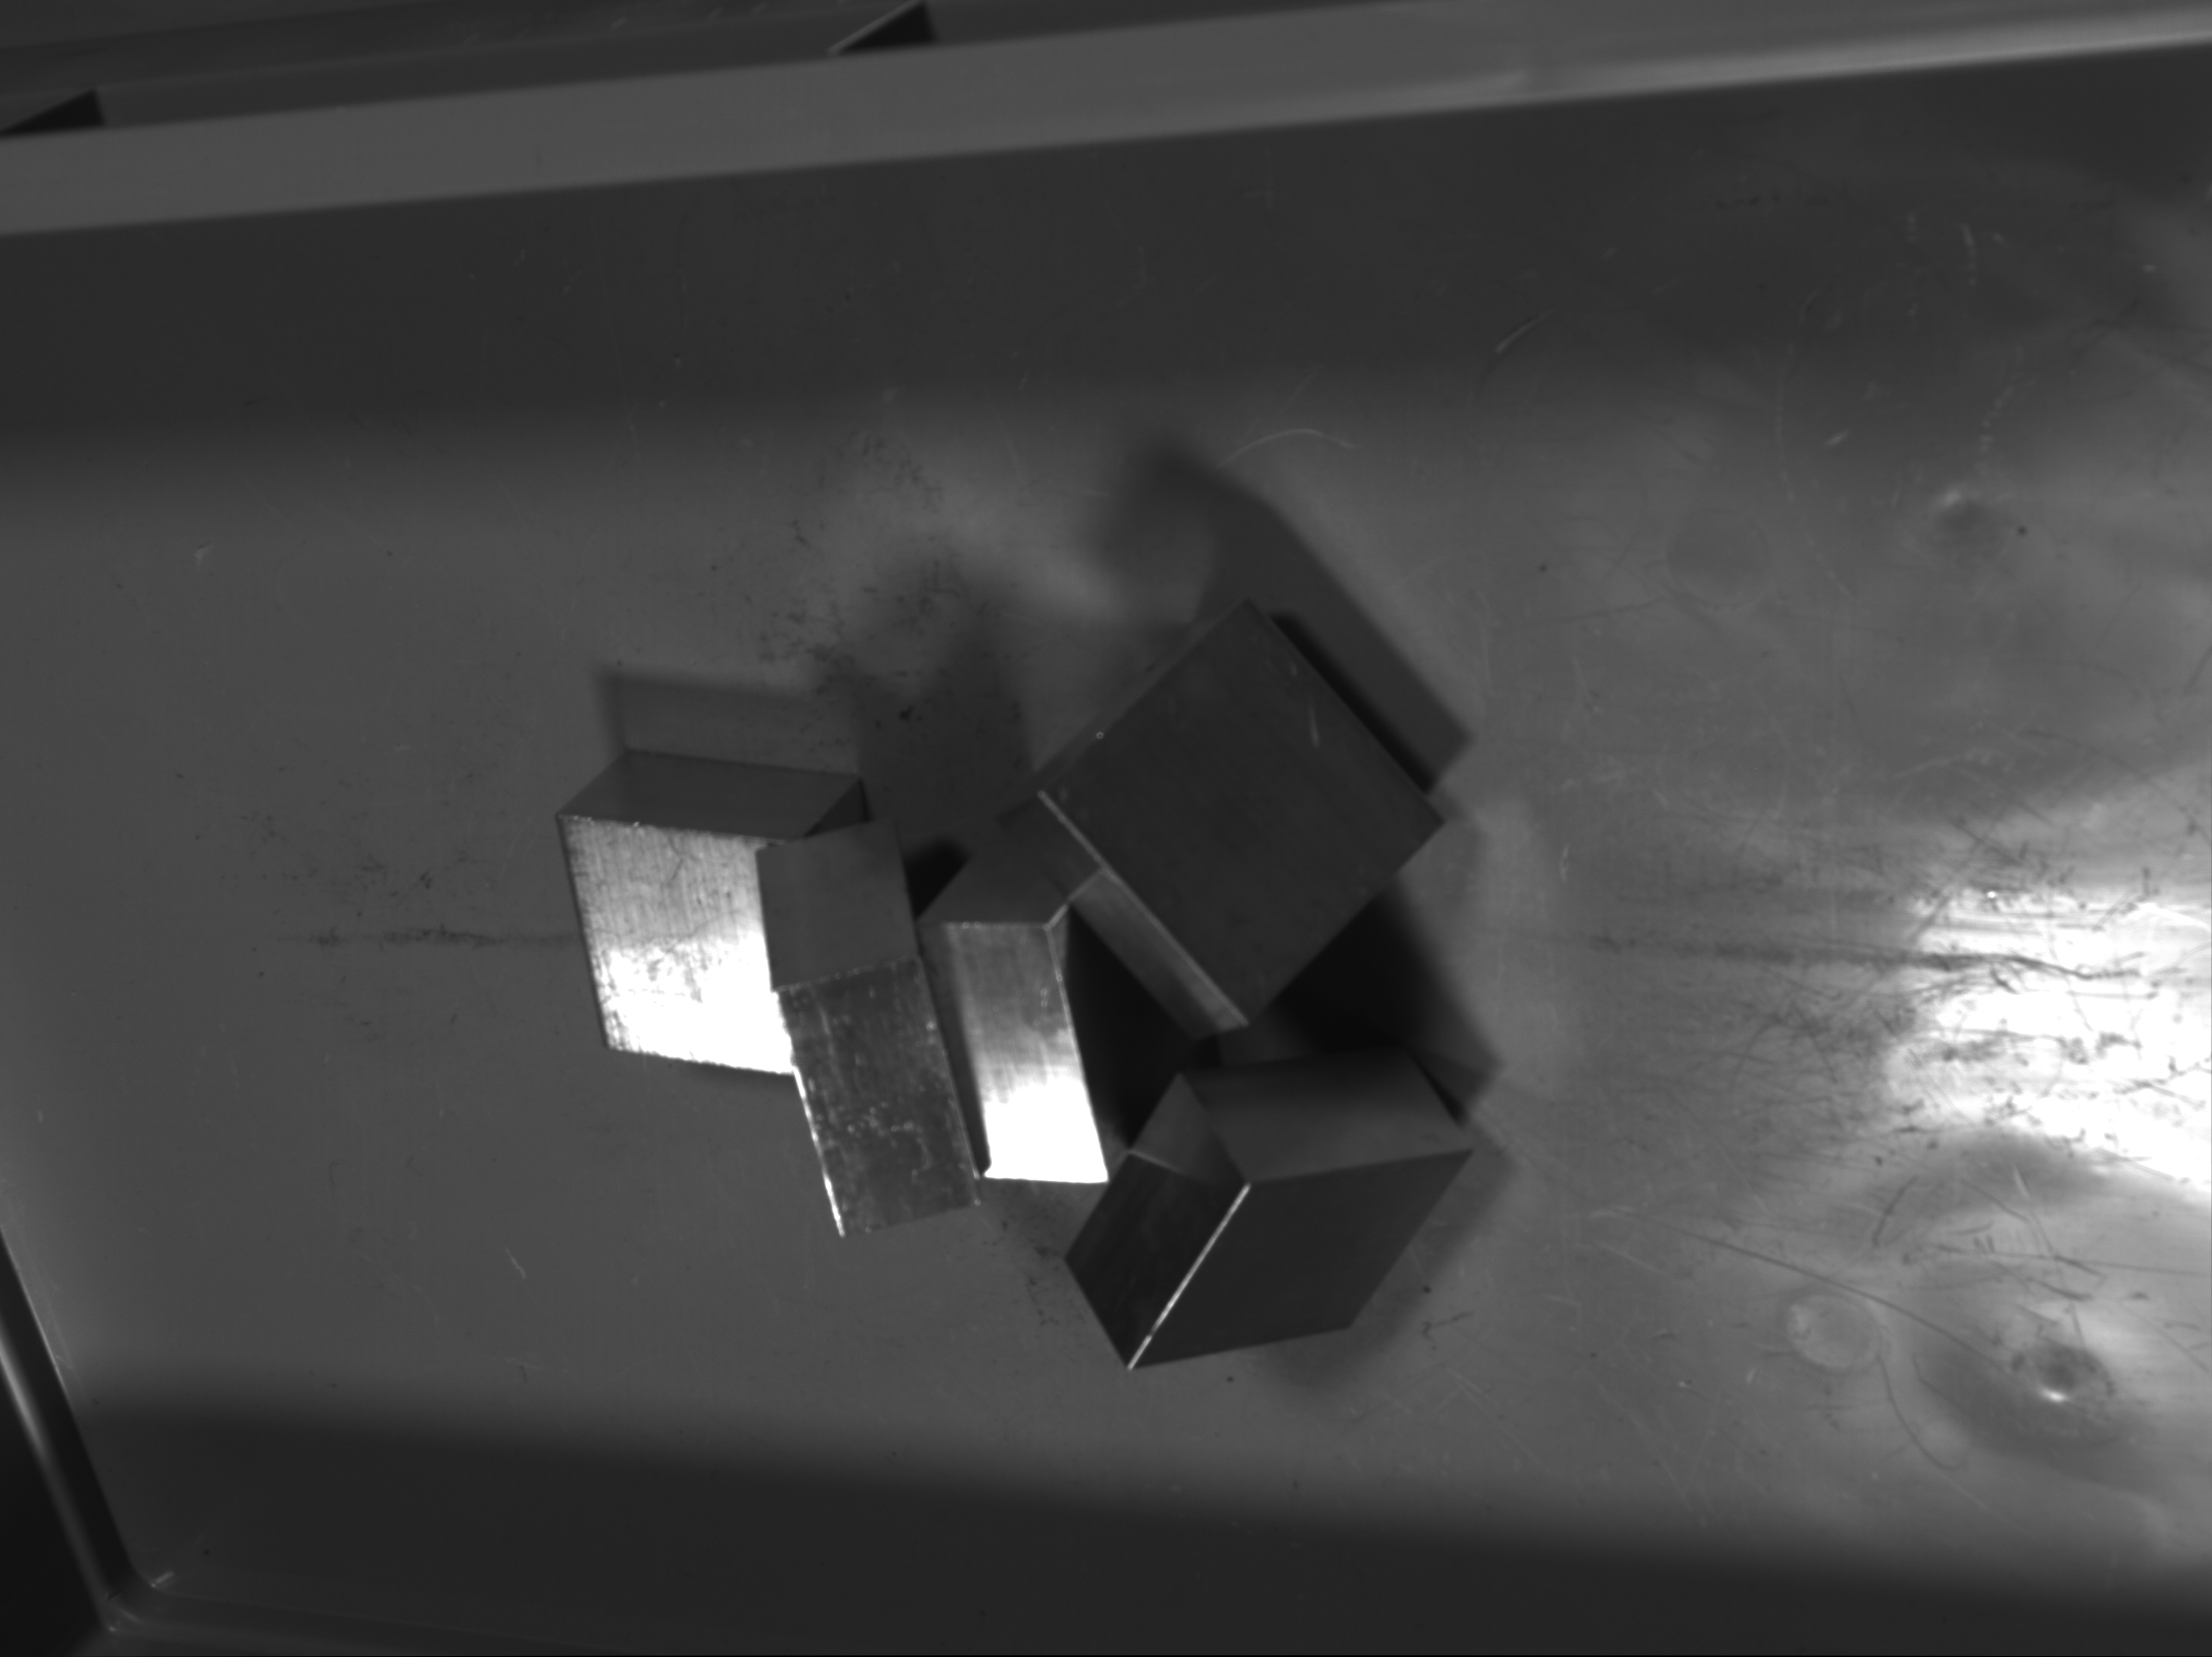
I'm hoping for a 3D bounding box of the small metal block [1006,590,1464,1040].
[{"bbox_3d":[0.021,-0.002,0.599,0.050,0.050,0.025,48,160,-7],"label":"small metal block"}]

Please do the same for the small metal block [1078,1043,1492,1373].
[{"bbox_3d":[0.031,0.065,0.634,0.025,0.050,0.050,58,135,32],"label":"small metal block"}]

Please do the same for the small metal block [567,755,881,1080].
[{"bbox_3d":[-0.067,0.017,0.672,0.050,0.025,0.050,6,121,23],"label":"small metal block"}]

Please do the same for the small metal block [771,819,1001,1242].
[{"bbox_3d":[-0.038,0.034,0.630,0.025,0.050,0.050,-14,119,-2],"label":"small metal block"}]

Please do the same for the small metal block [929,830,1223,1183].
[{"bbox_3d":[-0.003,0.026,0.631,0.025,0.050,0.050,1,119,26],"label":"small metal block"}]
